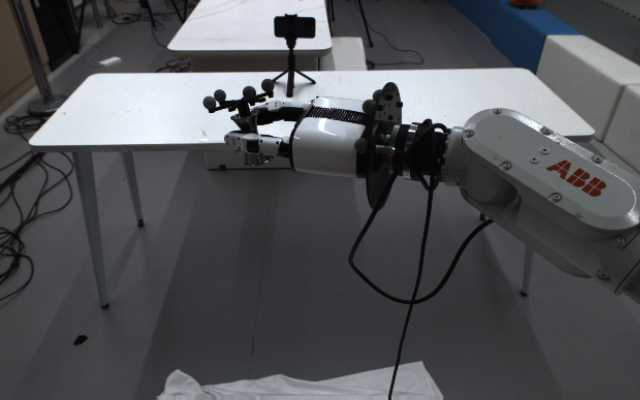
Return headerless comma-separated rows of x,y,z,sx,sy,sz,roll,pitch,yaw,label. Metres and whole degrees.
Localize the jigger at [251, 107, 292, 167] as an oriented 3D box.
-0.092,-0.085,0.662,0.043,0.071,0.043,-11,24,5,jigger
